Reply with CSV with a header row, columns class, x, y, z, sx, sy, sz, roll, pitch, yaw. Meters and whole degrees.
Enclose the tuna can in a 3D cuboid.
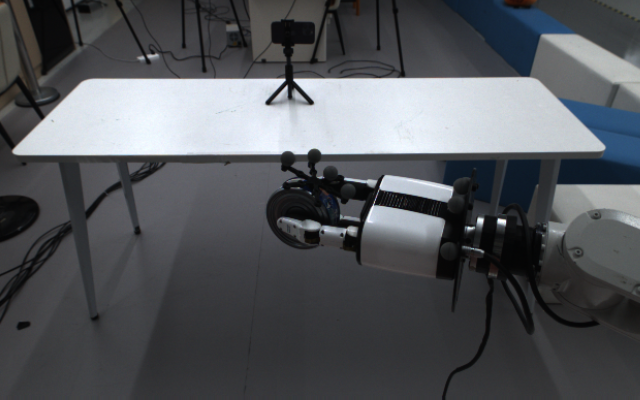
class,x,y,z,sx,sy,sz,roll,pitch,yaw
tuna can,-0.017,0.022,0.582,0.085,0.085,0.034,15,31,18
